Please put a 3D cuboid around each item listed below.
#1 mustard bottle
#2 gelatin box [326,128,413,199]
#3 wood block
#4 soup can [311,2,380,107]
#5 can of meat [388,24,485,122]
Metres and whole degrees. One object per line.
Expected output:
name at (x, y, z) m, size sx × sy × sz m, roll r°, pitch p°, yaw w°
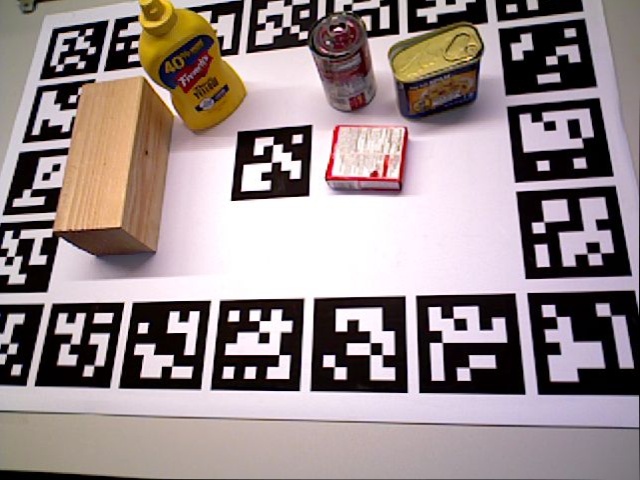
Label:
mustard bottle at (-0.163, -0.208, 0.645) m, size 0.096 × 0.193 × 0.058 m, roll -26°, pitch 64°, yaw -1°
gelatin box at (0.058, -0.089, 0.626) m, size 0.090 × 0.030 × 0.073 m, roll 6°, pitch 73°, yaw 18°
wood block at (-0.253, -0.088, 0.672) m, size 0.091 × 0.091 × 0.204 m, roll -1°, pitch 65°, yaw 10°
soup can at (0.033, -0.212, 0.634) m, size 0.068 × 0.103 × 0.067 m, roll -5°, pitch 69°, yaw 11°
can of meat at (0.131, -0.189, 0.622) m, size 0.102 × 0.084 × 0.057 m, roll -15°, pitch 66°, yaw 4°
